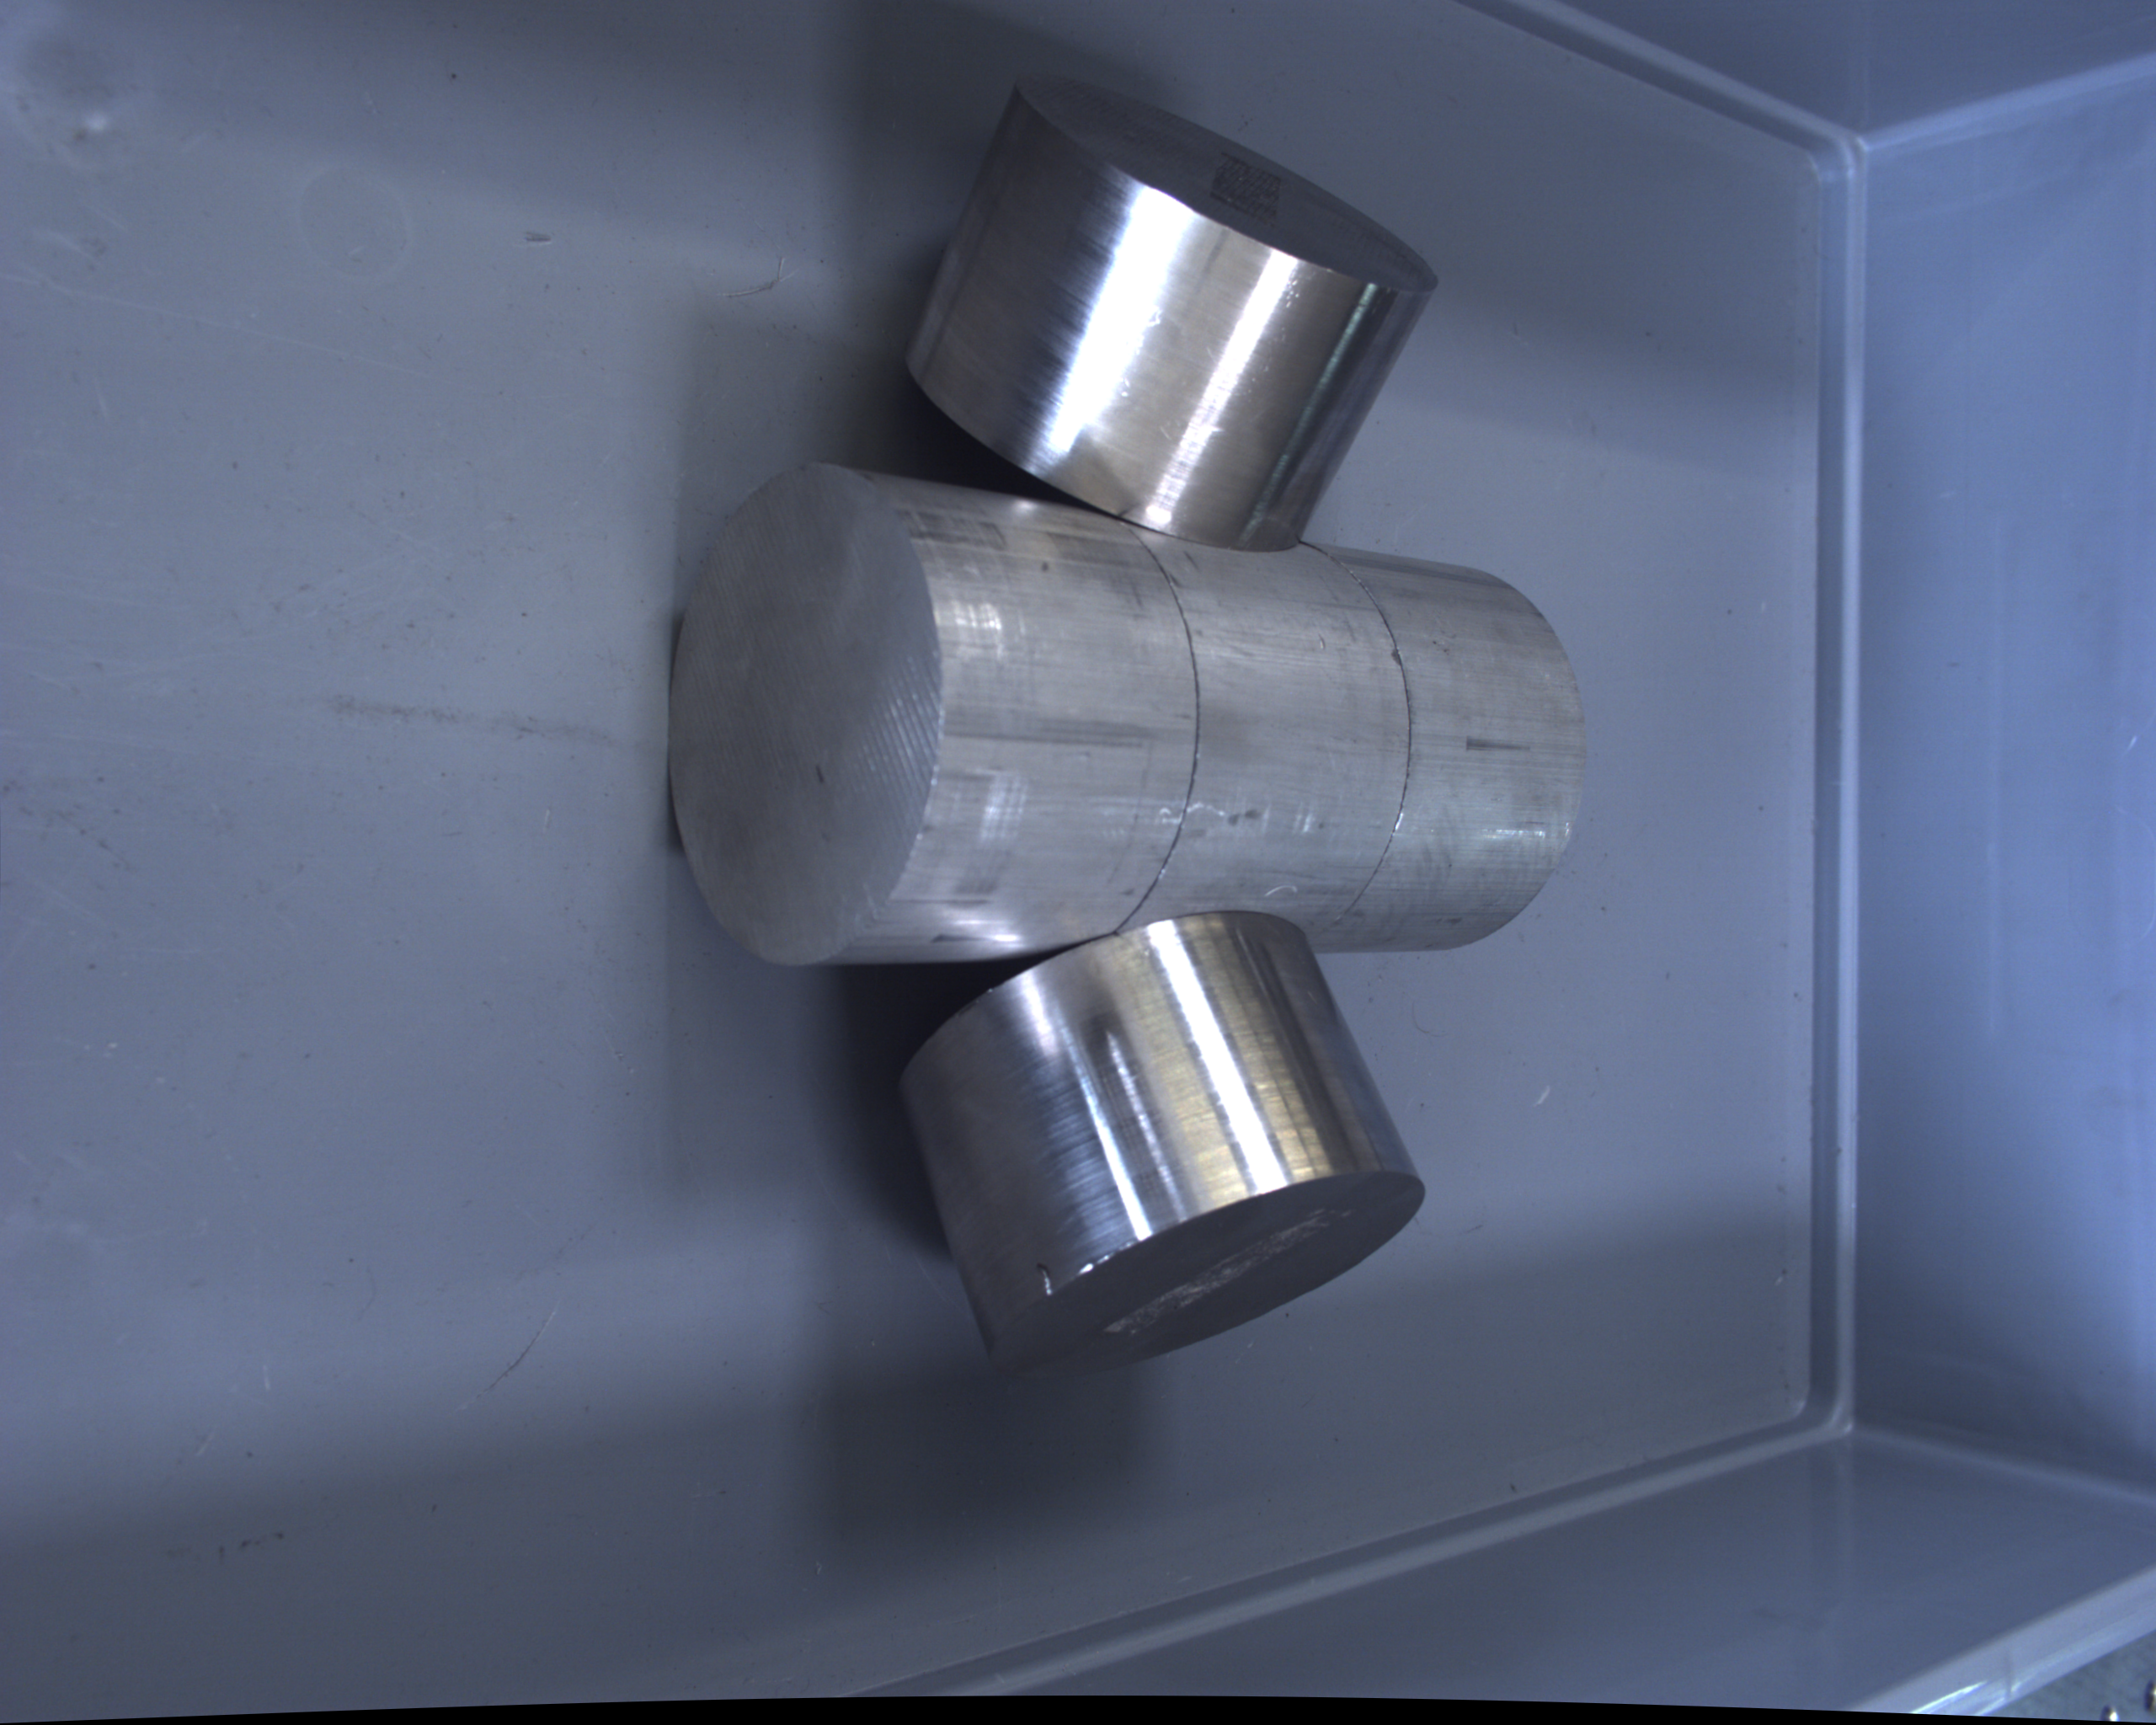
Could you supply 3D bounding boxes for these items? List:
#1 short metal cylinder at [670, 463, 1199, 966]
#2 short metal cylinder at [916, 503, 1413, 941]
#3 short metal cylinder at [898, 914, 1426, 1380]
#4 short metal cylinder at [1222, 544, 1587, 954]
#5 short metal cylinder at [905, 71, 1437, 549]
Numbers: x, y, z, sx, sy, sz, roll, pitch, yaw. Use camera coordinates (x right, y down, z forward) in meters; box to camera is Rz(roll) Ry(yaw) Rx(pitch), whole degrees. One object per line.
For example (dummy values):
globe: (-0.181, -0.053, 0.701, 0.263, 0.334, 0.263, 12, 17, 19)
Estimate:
short metal cylinder: (-0.026, -0.023, 0.347, 0.050, 0.080, 0.080, 2, 89, -40)
short metal cylinder: (0.014, -0.022, 0.380, 0.050, 0.080, 0.080, 2, 89, -40)
short metal cylinder: (0.014, 0.052, 0.371, 0.081, 0.080, 0.050, 0, 56, -40)
short metal cylinder: (0.052, -0.022, 0.412, 0.050, 0.080, 0.080, 2, 89, -40)
short metal cylinder: (0.016, -0.099, 0.372, 0.081, 0.080, 0.050, 2, 127, -40)
